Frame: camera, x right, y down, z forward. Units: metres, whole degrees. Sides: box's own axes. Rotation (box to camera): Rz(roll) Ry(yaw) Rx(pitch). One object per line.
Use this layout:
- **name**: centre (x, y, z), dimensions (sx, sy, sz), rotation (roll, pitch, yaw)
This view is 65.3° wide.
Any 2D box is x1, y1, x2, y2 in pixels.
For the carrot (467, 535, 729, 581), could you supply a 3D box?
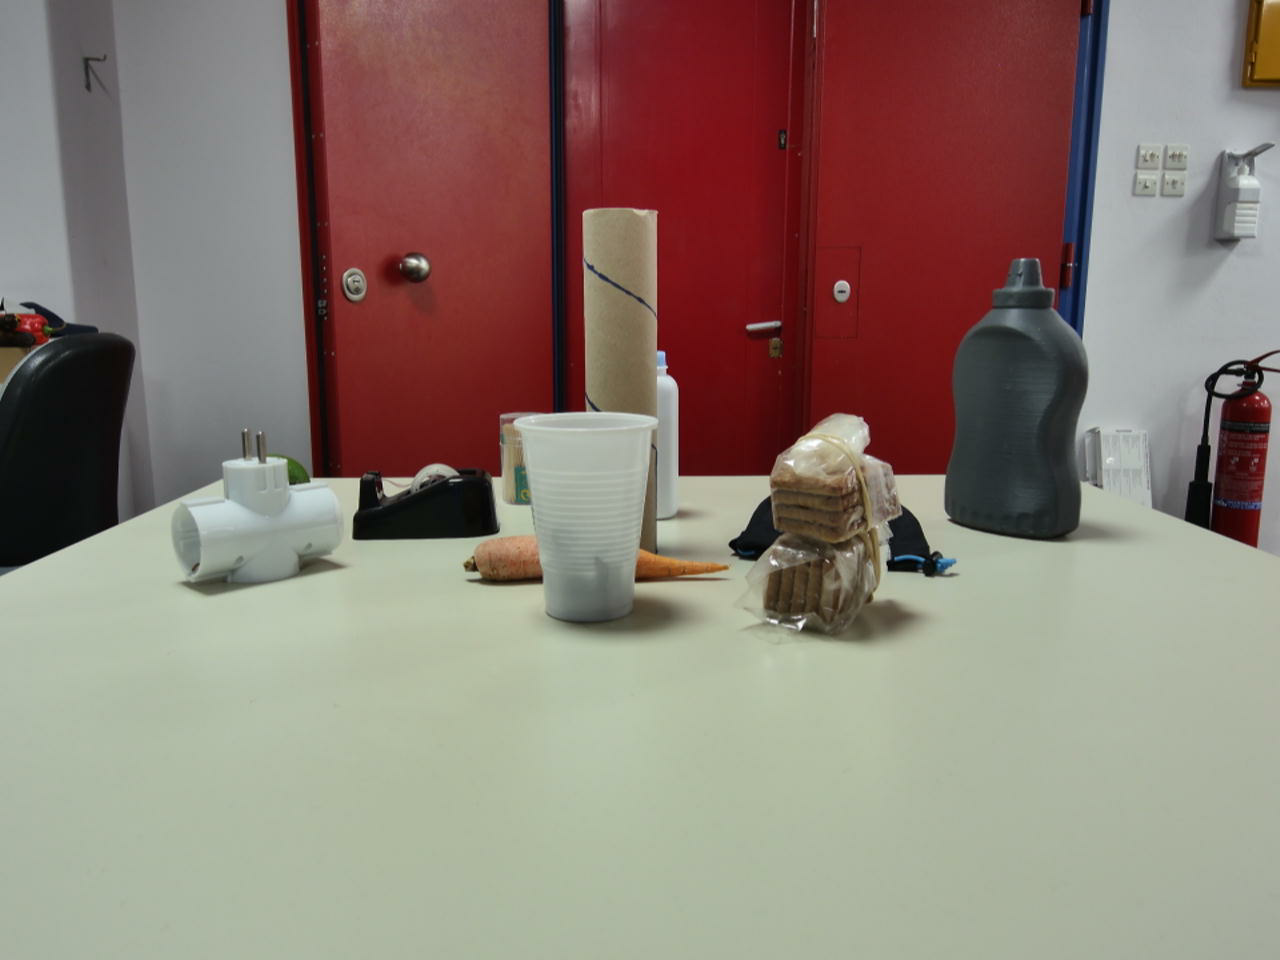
- **carrot**: centre (-0.025, 0.049, 0.629), dimensions (0.163, 0.029, 0.031), rotation (0, 8, -1)
